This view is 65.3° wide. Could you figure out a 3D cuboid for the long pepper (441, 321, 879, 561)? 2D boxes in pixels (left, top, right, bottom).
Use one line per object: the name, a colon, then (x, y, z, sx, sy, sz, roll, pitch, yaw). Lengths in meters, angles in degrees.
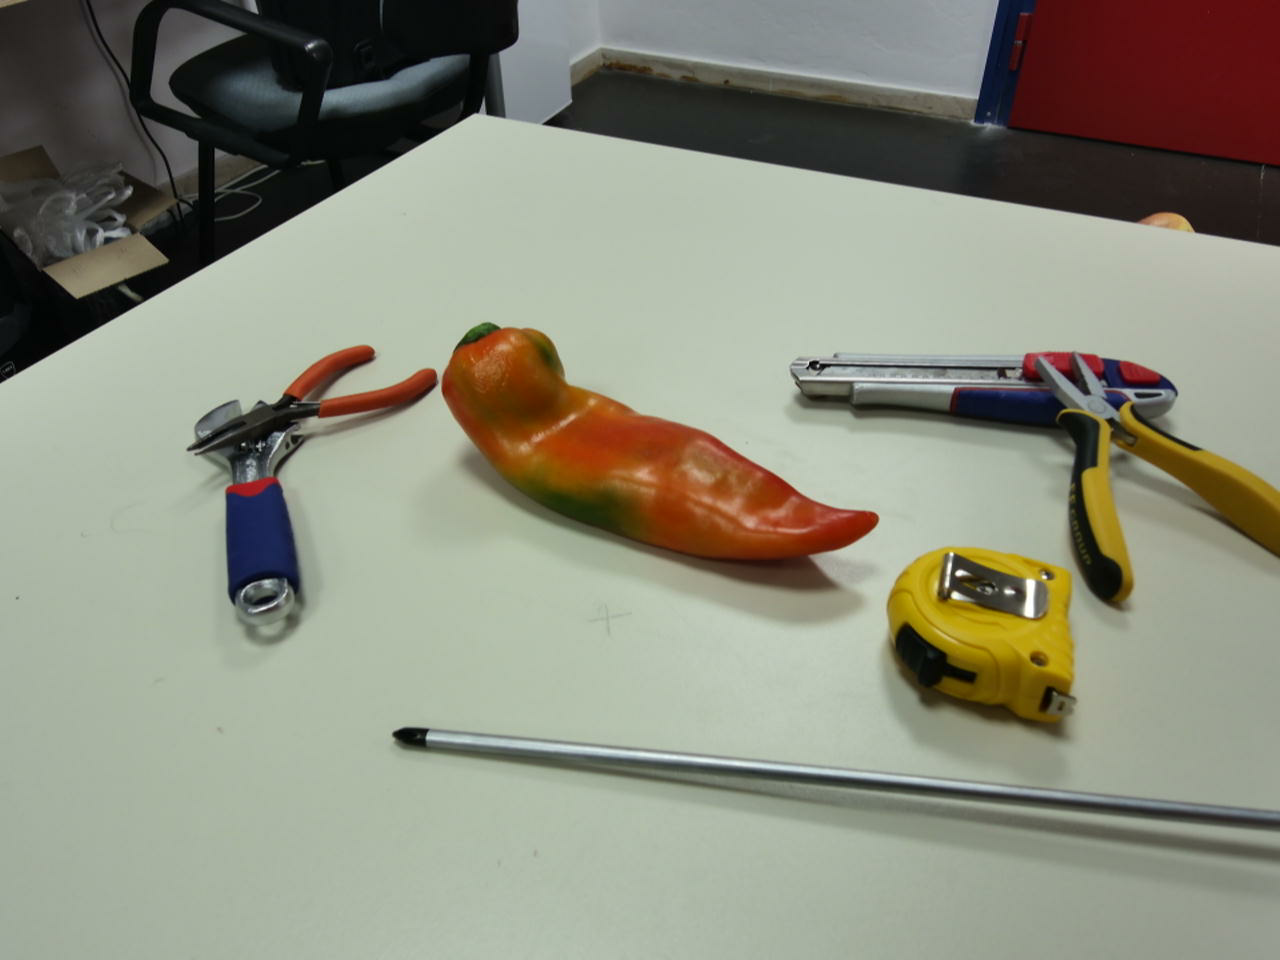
long pepper: (0.002, -0.015, 0.417, 0.199, 0.065, 0.066, 21, 42, 25)
